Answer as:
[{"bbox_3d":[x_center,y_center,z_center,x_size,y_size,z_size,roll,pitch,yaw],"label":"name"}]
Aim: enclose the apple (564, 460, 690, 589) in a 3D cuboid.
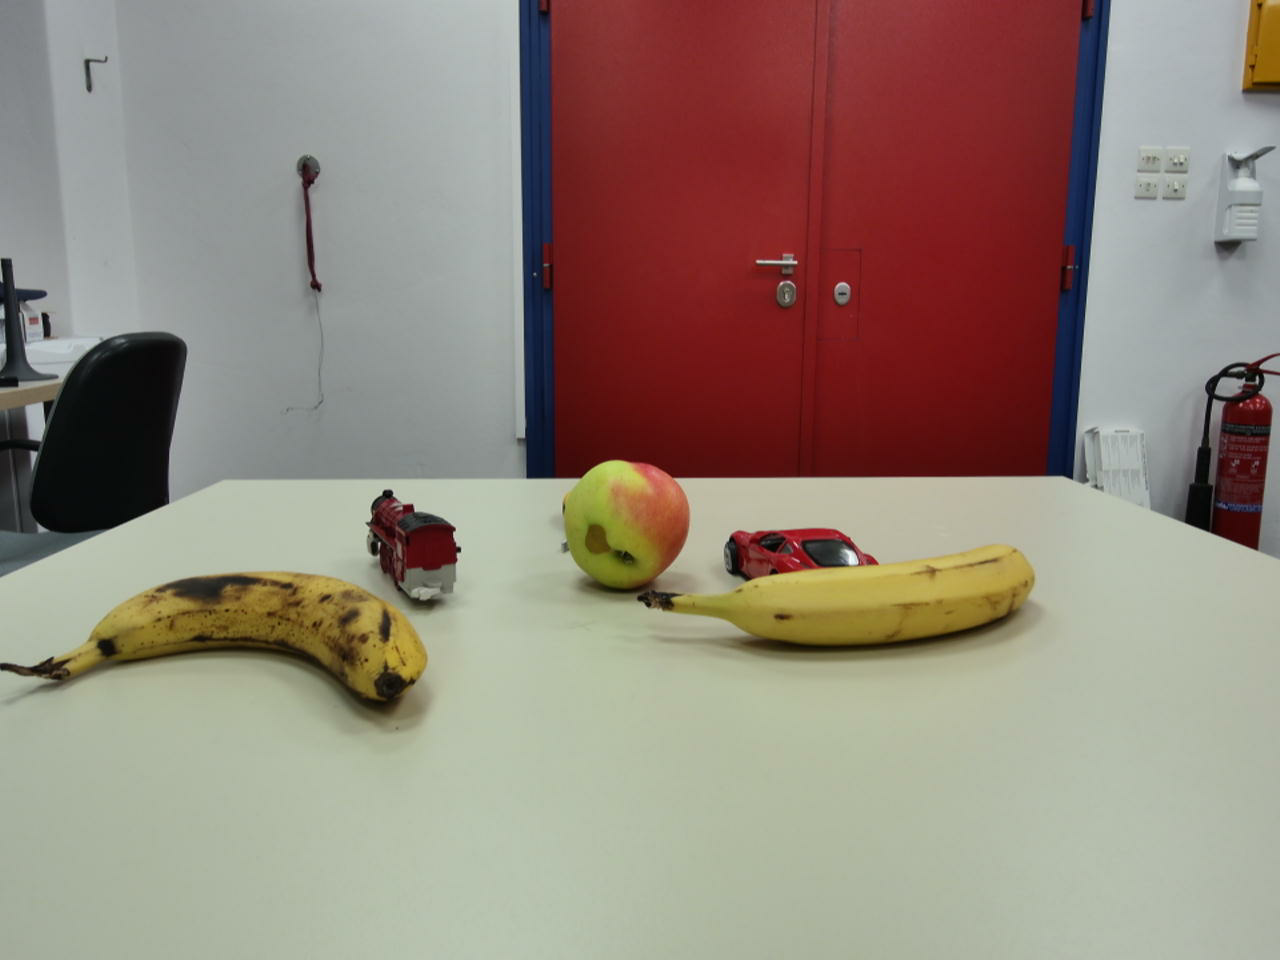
[{"bbox_3d":[-0.007,0.026,0.593,0.075,0.074,0.075,-2,8,-20],"label":"apple"}]
